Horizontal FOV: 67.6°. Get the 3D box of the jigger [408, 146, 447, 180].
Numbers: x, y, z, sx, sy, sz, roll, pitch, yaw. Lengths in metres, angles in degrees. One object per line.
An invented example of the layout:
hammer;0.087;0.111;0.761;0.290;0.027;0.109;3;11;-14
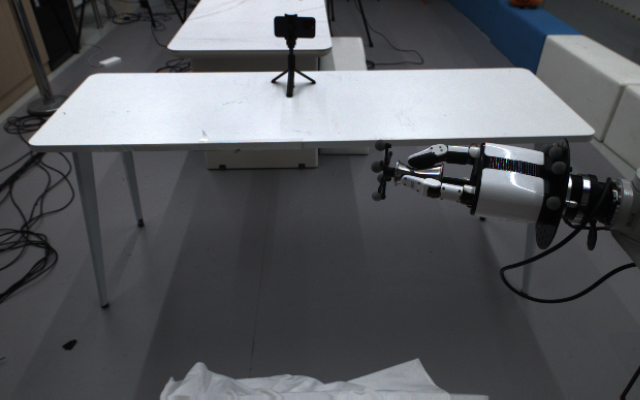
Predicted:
jigger;0.155;-0.041;0.730;0.071;0.043;0.043;8;35;16
